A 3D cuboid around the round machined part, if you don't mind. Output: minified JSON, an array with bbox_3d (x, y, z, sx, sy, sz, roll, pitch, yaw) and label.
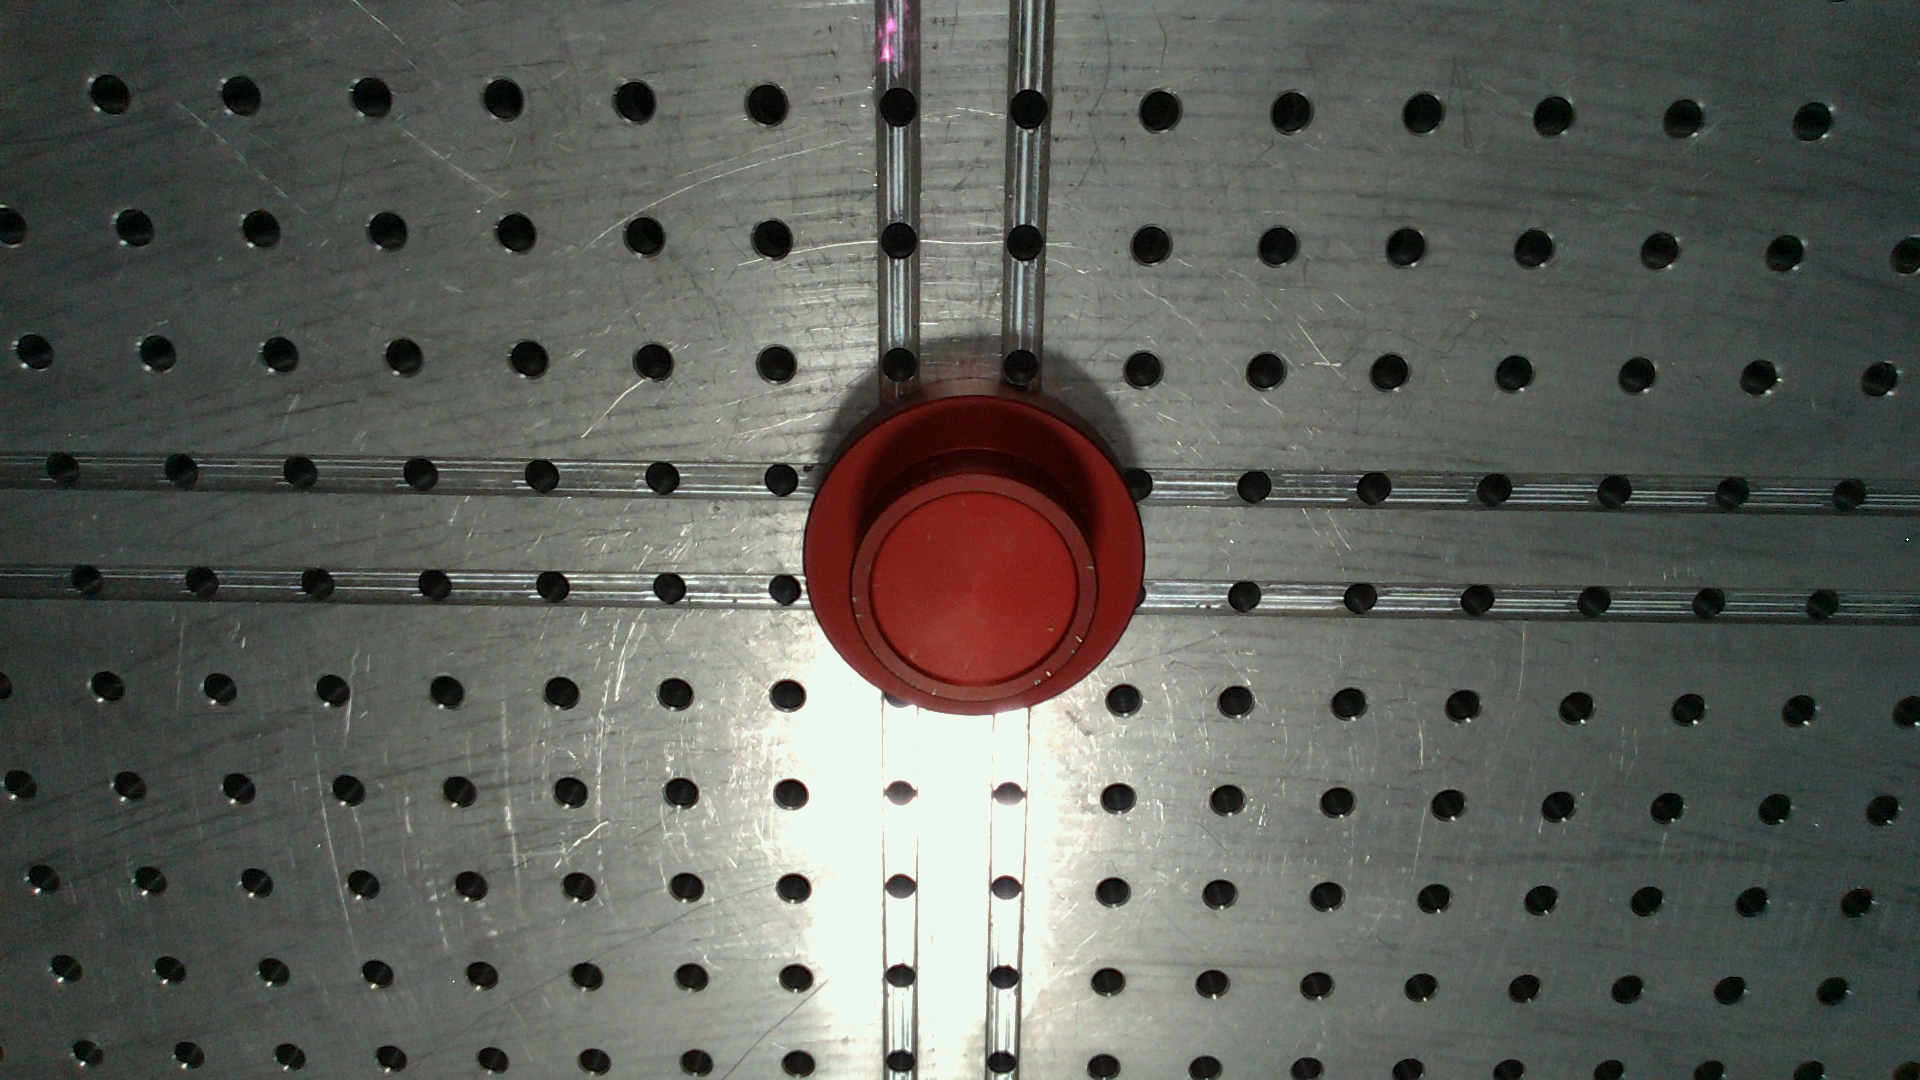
[{"bbox_3d":[0.004,0.007,0.389,0.098,0.042,0.098,0,110,0],"label":"round machined part"}]
